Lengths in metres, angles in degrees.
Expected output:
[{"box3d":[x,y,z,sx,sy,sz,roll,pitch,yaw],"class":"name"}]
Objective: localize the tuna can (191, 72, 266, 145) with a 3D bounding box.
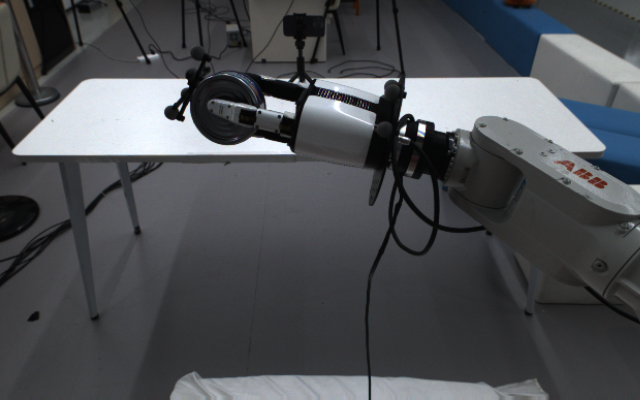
[{"box3d":[-0.106,-0.106,0.578,0.085,0.085,0.034,3,21,2],"class":"tuna can"}]
